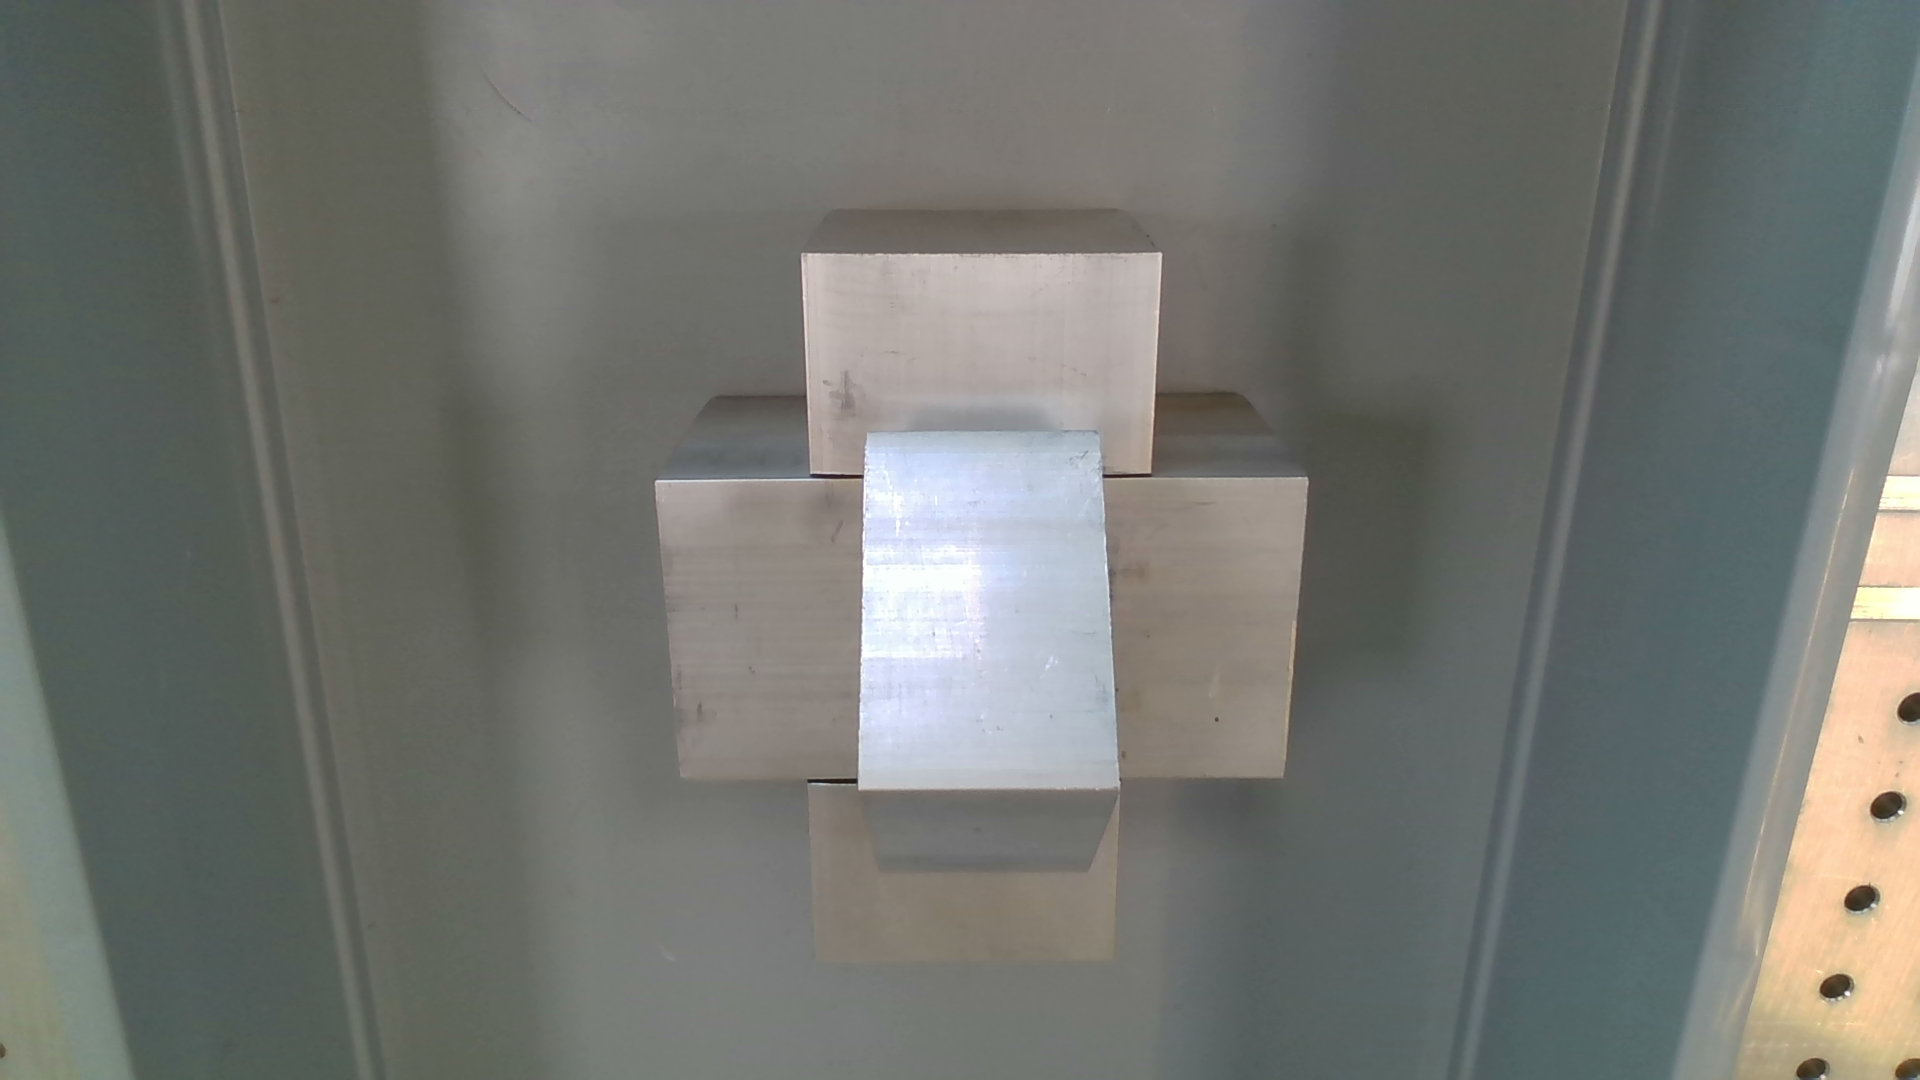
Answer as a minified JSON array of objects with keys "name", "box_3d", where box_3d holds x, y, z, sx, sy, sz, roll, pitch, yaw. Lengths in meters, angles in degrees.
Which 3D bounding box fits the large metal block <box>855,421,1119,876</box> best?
[{"name":"large metal block","box_3d":[0.005,0.028,0.314,0.050,0.080,0.080,0,155,0]}]

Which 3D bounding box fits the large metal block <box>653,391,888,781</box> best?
[{"name":"large metal block","box_3d":[-0.045,0.009,0.367,0.050,0.080,0.080,0,110,0]}]

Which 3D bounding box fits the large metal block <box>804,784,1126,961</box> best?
[{"name":"large metal block","box_3d":[0.001,0.073,0.388,0.080,0.080,0.050,0,110,0]}]

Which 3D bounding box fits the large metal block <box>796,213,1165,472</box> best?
[{"name":"large metal block","box_3d":[0.005,-0.053,0.345,0.080,0.080,0.050,0,110,0]}]

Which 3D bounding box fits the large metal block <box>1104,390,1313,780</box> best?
[{"name":"large metal block","box_3d":[0.056,0.009,0.367,0.050,0.080,0.080,0,110,0]}]
